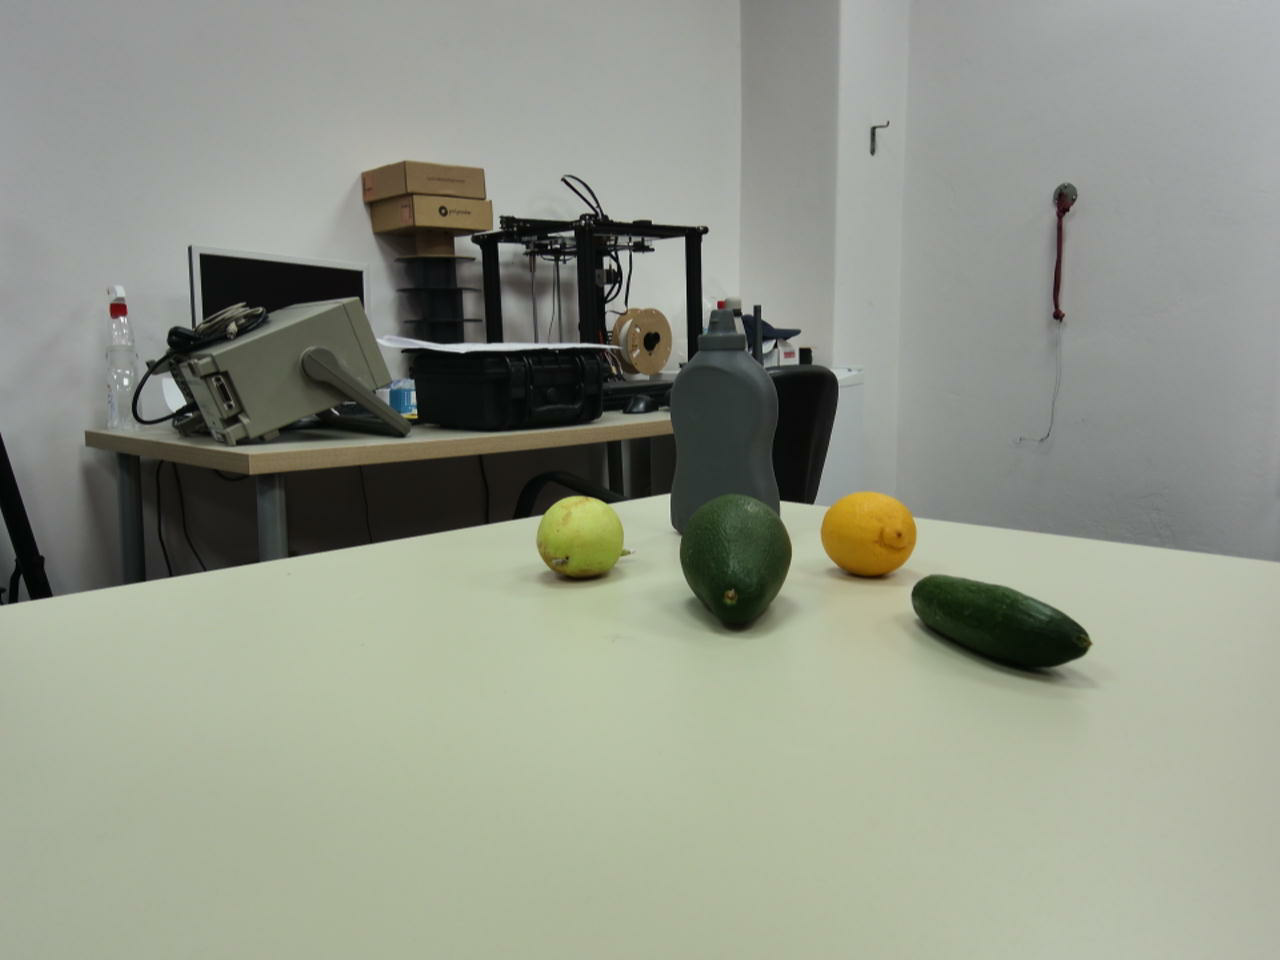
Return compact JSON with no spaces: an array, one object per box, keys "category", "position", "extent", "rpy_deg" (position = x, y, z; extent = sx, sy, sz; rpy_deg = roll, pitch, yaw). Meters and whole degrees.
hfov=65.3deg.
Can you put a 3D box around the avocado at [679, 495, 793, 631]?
[{"category":"avocado","position":[0.055,0.048,0.620],"extent":[0.073,0.071,0.109],"rpy_deg":[2,7,24]}]
